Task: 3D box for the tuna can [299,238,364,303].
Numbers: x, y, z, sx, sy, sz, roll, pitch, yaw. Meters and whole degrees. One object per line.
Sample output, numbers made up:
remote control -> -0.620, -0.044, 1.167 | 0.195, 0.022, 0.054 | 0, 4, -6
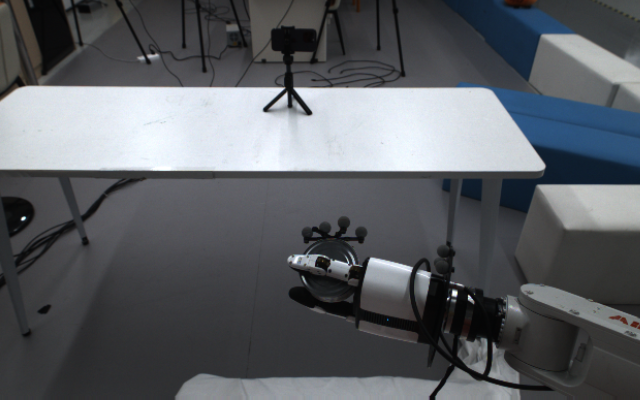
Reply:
tuna can -> 0.016, 0.099, 0.677 | 0.085, 0.034, 0.085 | -6, 61, 10
